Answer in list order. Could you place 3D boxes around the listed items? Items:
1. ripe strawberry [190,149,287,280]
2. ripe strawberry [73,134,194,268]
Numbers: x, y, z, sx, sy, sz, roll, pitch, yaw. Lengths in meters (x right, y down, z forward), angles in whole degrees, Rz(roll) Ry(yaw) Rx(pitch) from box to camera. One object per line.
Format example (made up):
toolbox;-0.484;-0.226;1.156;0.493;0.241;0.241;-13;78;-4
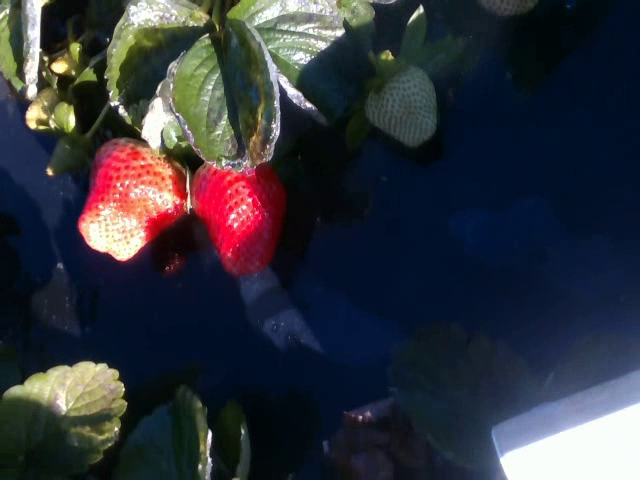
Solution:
ripe strawberry;-0.041;-0.014;0.270;0.043;0.059;0.040;-25;-1;13
ripe strawberry;-0.091;-0.016;0.288;0.052;0.070;0.040;21;4;-1
